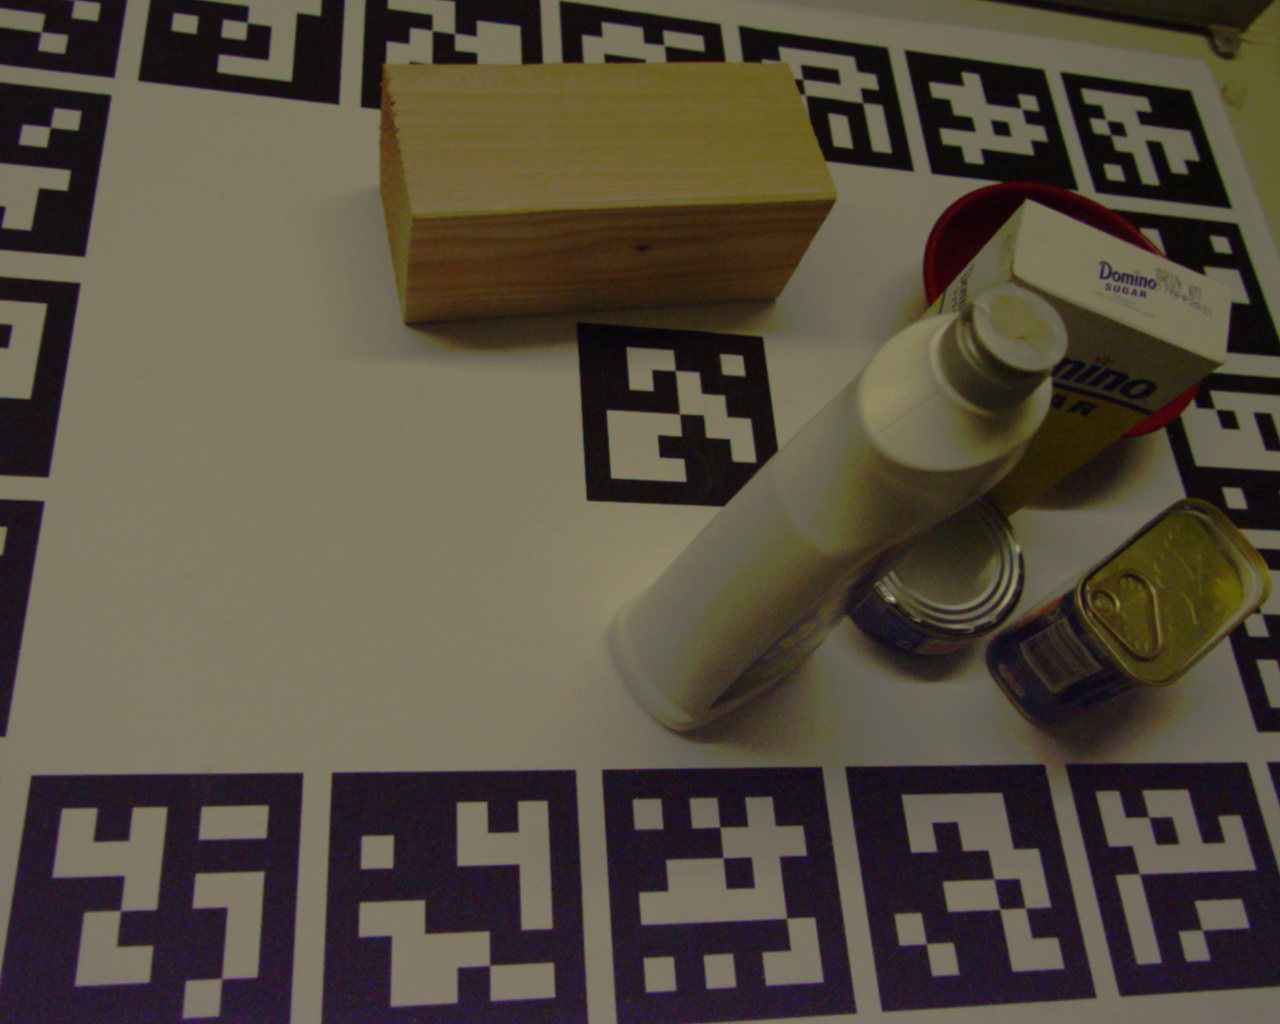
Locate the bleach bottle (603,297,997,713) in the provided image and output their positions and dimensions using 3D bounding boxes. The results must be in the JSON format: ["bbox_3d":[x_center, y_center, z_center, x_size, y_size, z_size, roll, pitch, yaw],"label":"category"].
[{"bbox_3d":[0.060,0.003,0.454,0.102,0.251,0.068,-24,72,-23],"label":"bleach bottle"}]

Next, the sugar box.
[{"bbox_3d":[0.164,-0.056,0.547,0.093,0.177,0.045,20,64,-1],"label":"sugar box"}]

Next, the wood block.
[{"bbox_3d":[-0.031,-0.158,0.603,0.204,0.090,0.091,-7,71,-18],"label":"wood block"}]

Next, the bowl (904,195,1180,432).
[{"bbox_3d":[0.219,-0.102,0.655,0.161,0.055,0.162,4,64,-8],"label":"bowl"}]

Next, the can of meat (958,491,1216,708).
[{"bbox_3d":[0.219,0.047,0.571,0.101,0.084,0.058,-28,72,-26],"label":"can of meat"}]

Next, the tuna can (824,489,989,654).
[{"bbox_3d":[0.130,0.028,0.578,0.085,0.034,0.086,4,67,-12],"label":"tuna can"}]
